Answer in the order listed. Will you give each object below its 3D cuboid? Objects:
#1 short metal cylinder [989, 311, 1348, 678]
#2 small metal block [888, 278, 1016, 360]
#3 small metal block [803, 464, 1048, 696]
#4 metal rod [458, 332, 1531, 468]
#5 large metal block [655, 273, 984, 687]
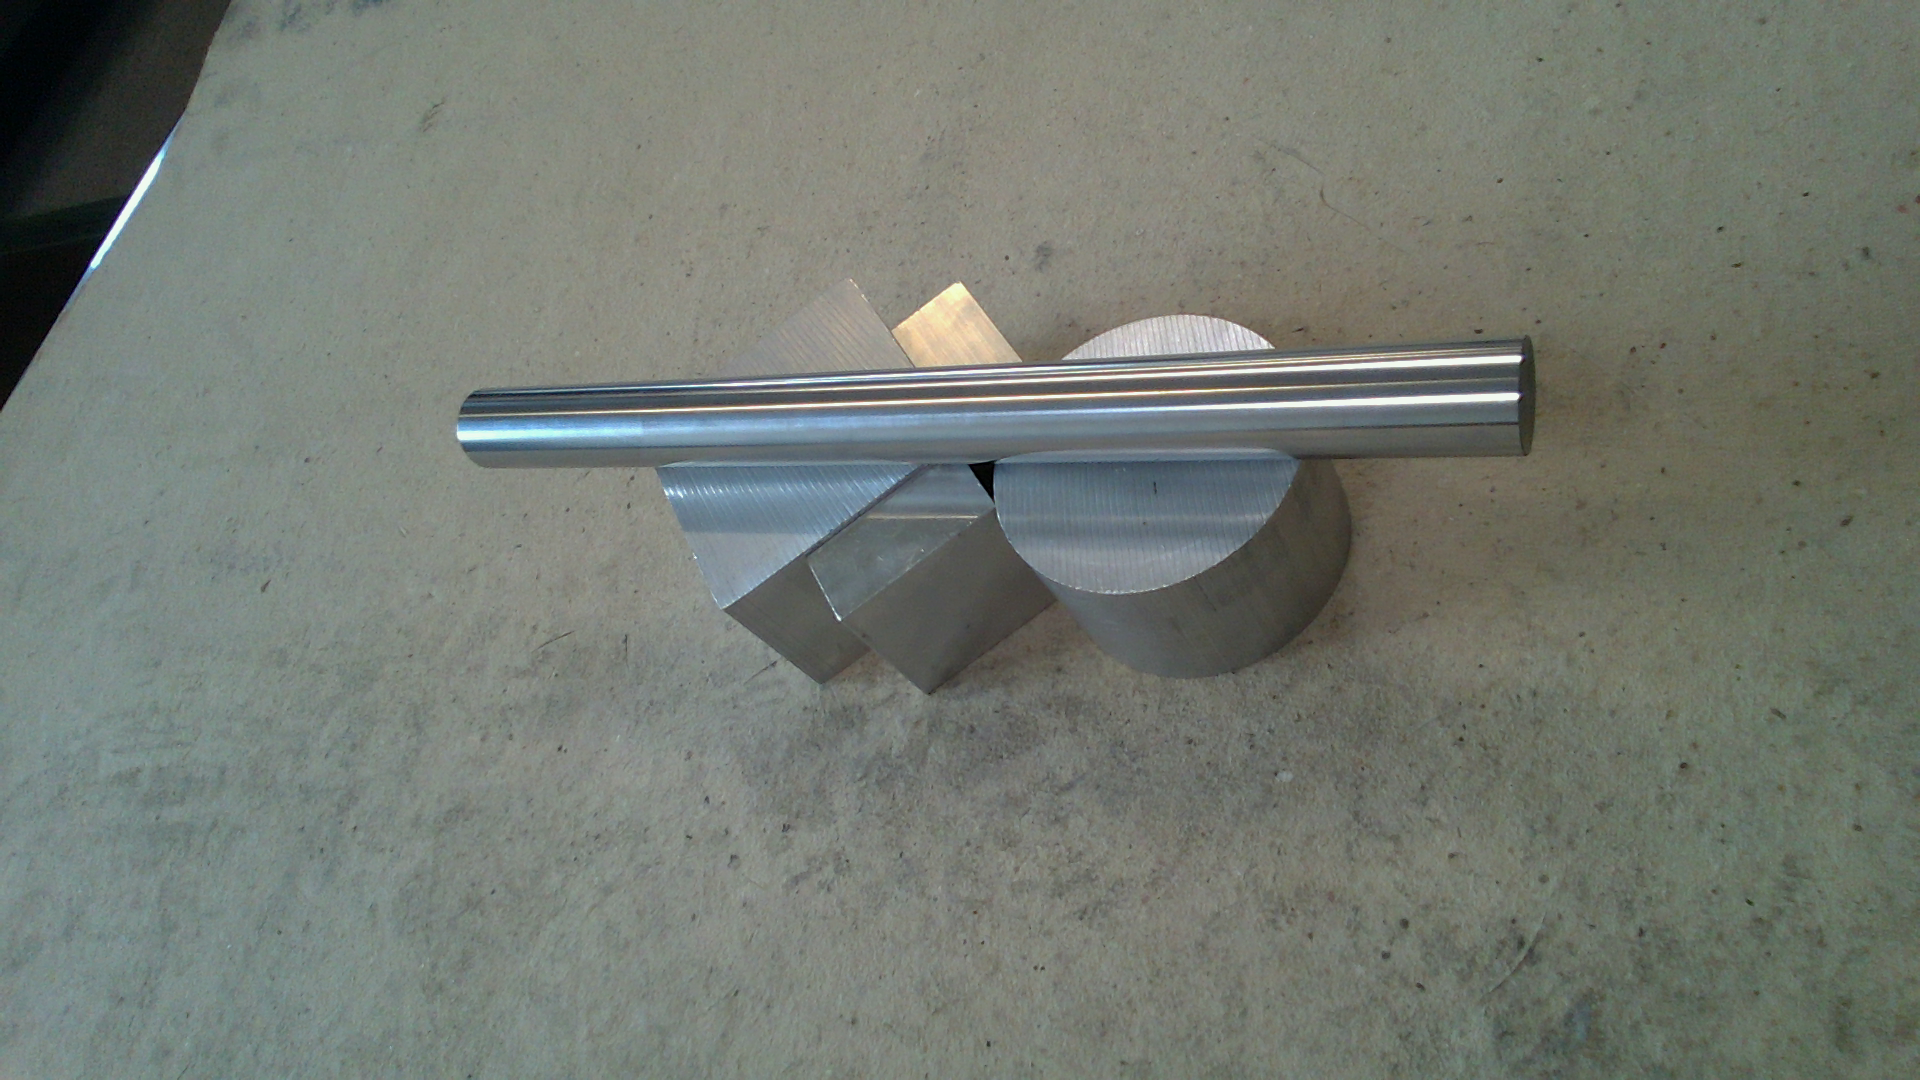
[{"bbox_3d":[0.054,-0.011,0.355,0.080,0.050,0.080,-13,56,21],"label":"short metal cylinder"},{"bbox_3d":[0.011,-0.039,0.397,0.025,0.050,0.050,-37,51,4],"label":"small metal block"},{"bbox_3d":[-0.006,0.010,0.376,0.050,0.050,0.025,-37,51,4],"label":"small metal block"},{"bbox_3d":[-0.015,-0.032,0.355,0.299,0.025,0.025,1,62,29],"label":"metal rod"},{"bbox_3d":[-0.039,-0.018,0.408,0.080,0.050,0.080,-36,51,4],"label":"large metal block"}]
